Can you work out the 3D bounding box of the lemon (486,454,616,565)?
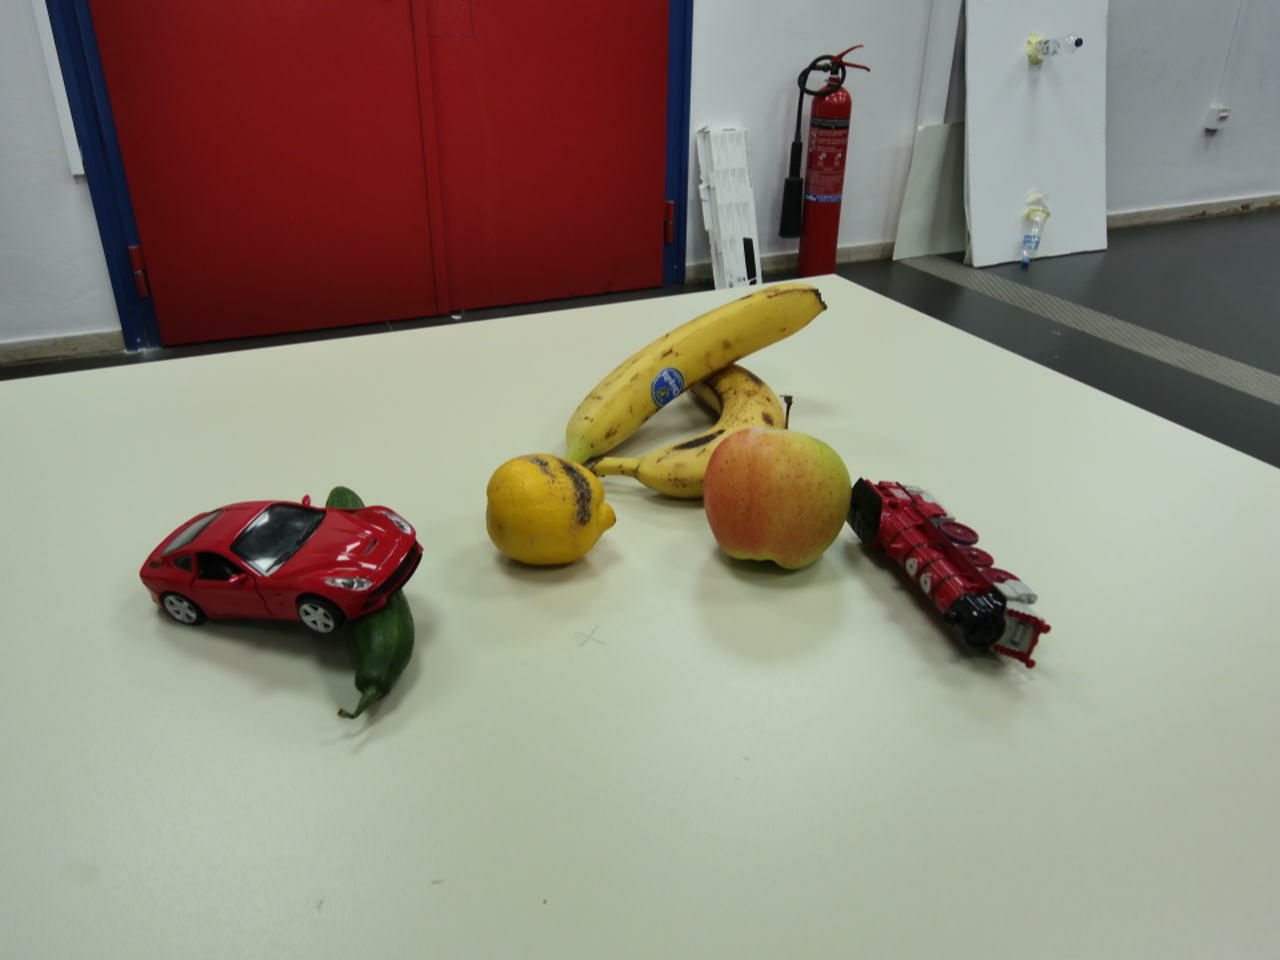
[{"bbox_3d":[-0.049,0.015,0.506,0.061,0.056,0.058,-16,30,-30],"label":"lemon"}]
